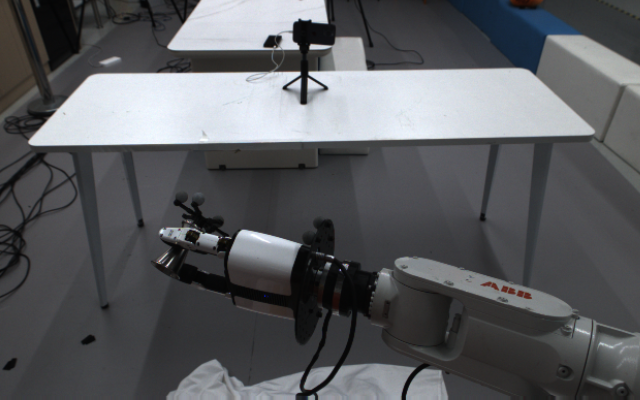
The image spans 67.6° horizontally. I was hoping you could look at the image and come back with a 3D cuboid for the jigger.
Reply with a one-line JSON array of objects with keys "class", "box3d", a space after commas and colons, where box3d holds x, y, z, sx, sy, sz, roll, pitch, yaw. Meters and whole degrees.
[{"class": "jigger", "box3d": [-0.187, 0.063, 0.642, 0.043, 0.043, 0.071, 19, 62, 23]}]
